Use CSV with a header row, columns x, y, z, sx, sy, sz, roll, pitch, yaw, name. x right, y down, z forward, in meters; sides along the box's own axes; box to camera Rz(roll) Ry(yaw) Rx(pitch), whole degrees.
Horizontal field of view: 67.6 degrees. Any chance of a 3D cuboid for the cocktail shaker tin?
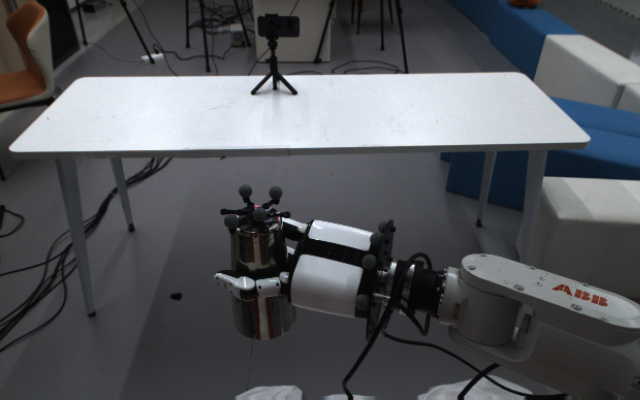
x,y,z,sx,sy,sz,roll,pitch,yaw,name
-0.077,0.095,0.655,0.093,0.170,0.093,-1,33,0,cocktail shaker tin
